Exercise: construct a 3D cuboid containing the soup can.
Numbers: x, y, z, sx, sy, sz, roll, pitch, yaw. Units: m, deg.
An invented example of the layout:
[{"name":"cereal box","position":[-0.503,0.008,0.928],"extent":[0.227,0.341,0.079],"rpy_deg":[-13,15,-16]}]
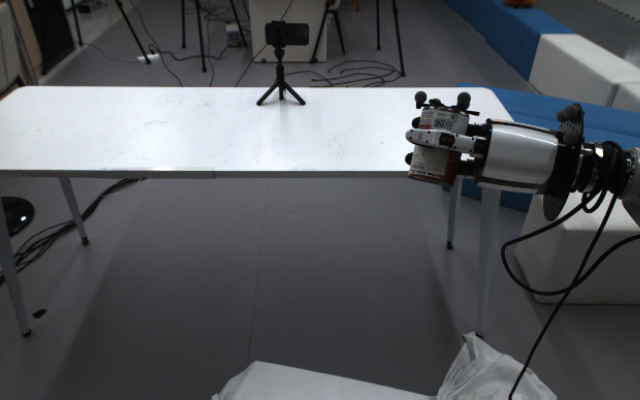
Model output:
[{"name":"soup can","position":[0.168,-0.075,0.686],"extent":[0.067,0.101,0.067],"rpy_deg":[11,3,-1]}]
